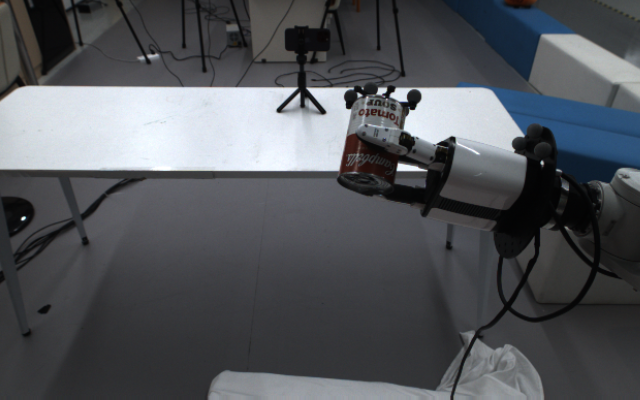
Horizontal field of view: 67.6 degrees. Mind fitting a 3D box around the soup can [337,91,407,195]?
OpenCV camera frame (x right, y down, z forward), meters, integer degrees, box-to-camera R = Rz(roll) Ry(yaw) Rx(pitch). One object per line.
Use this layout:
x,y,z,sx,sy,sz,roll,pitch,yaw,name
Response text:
0.064,-0.066,0.578,0.067,0.067,0.101,9,74,9,soup can
